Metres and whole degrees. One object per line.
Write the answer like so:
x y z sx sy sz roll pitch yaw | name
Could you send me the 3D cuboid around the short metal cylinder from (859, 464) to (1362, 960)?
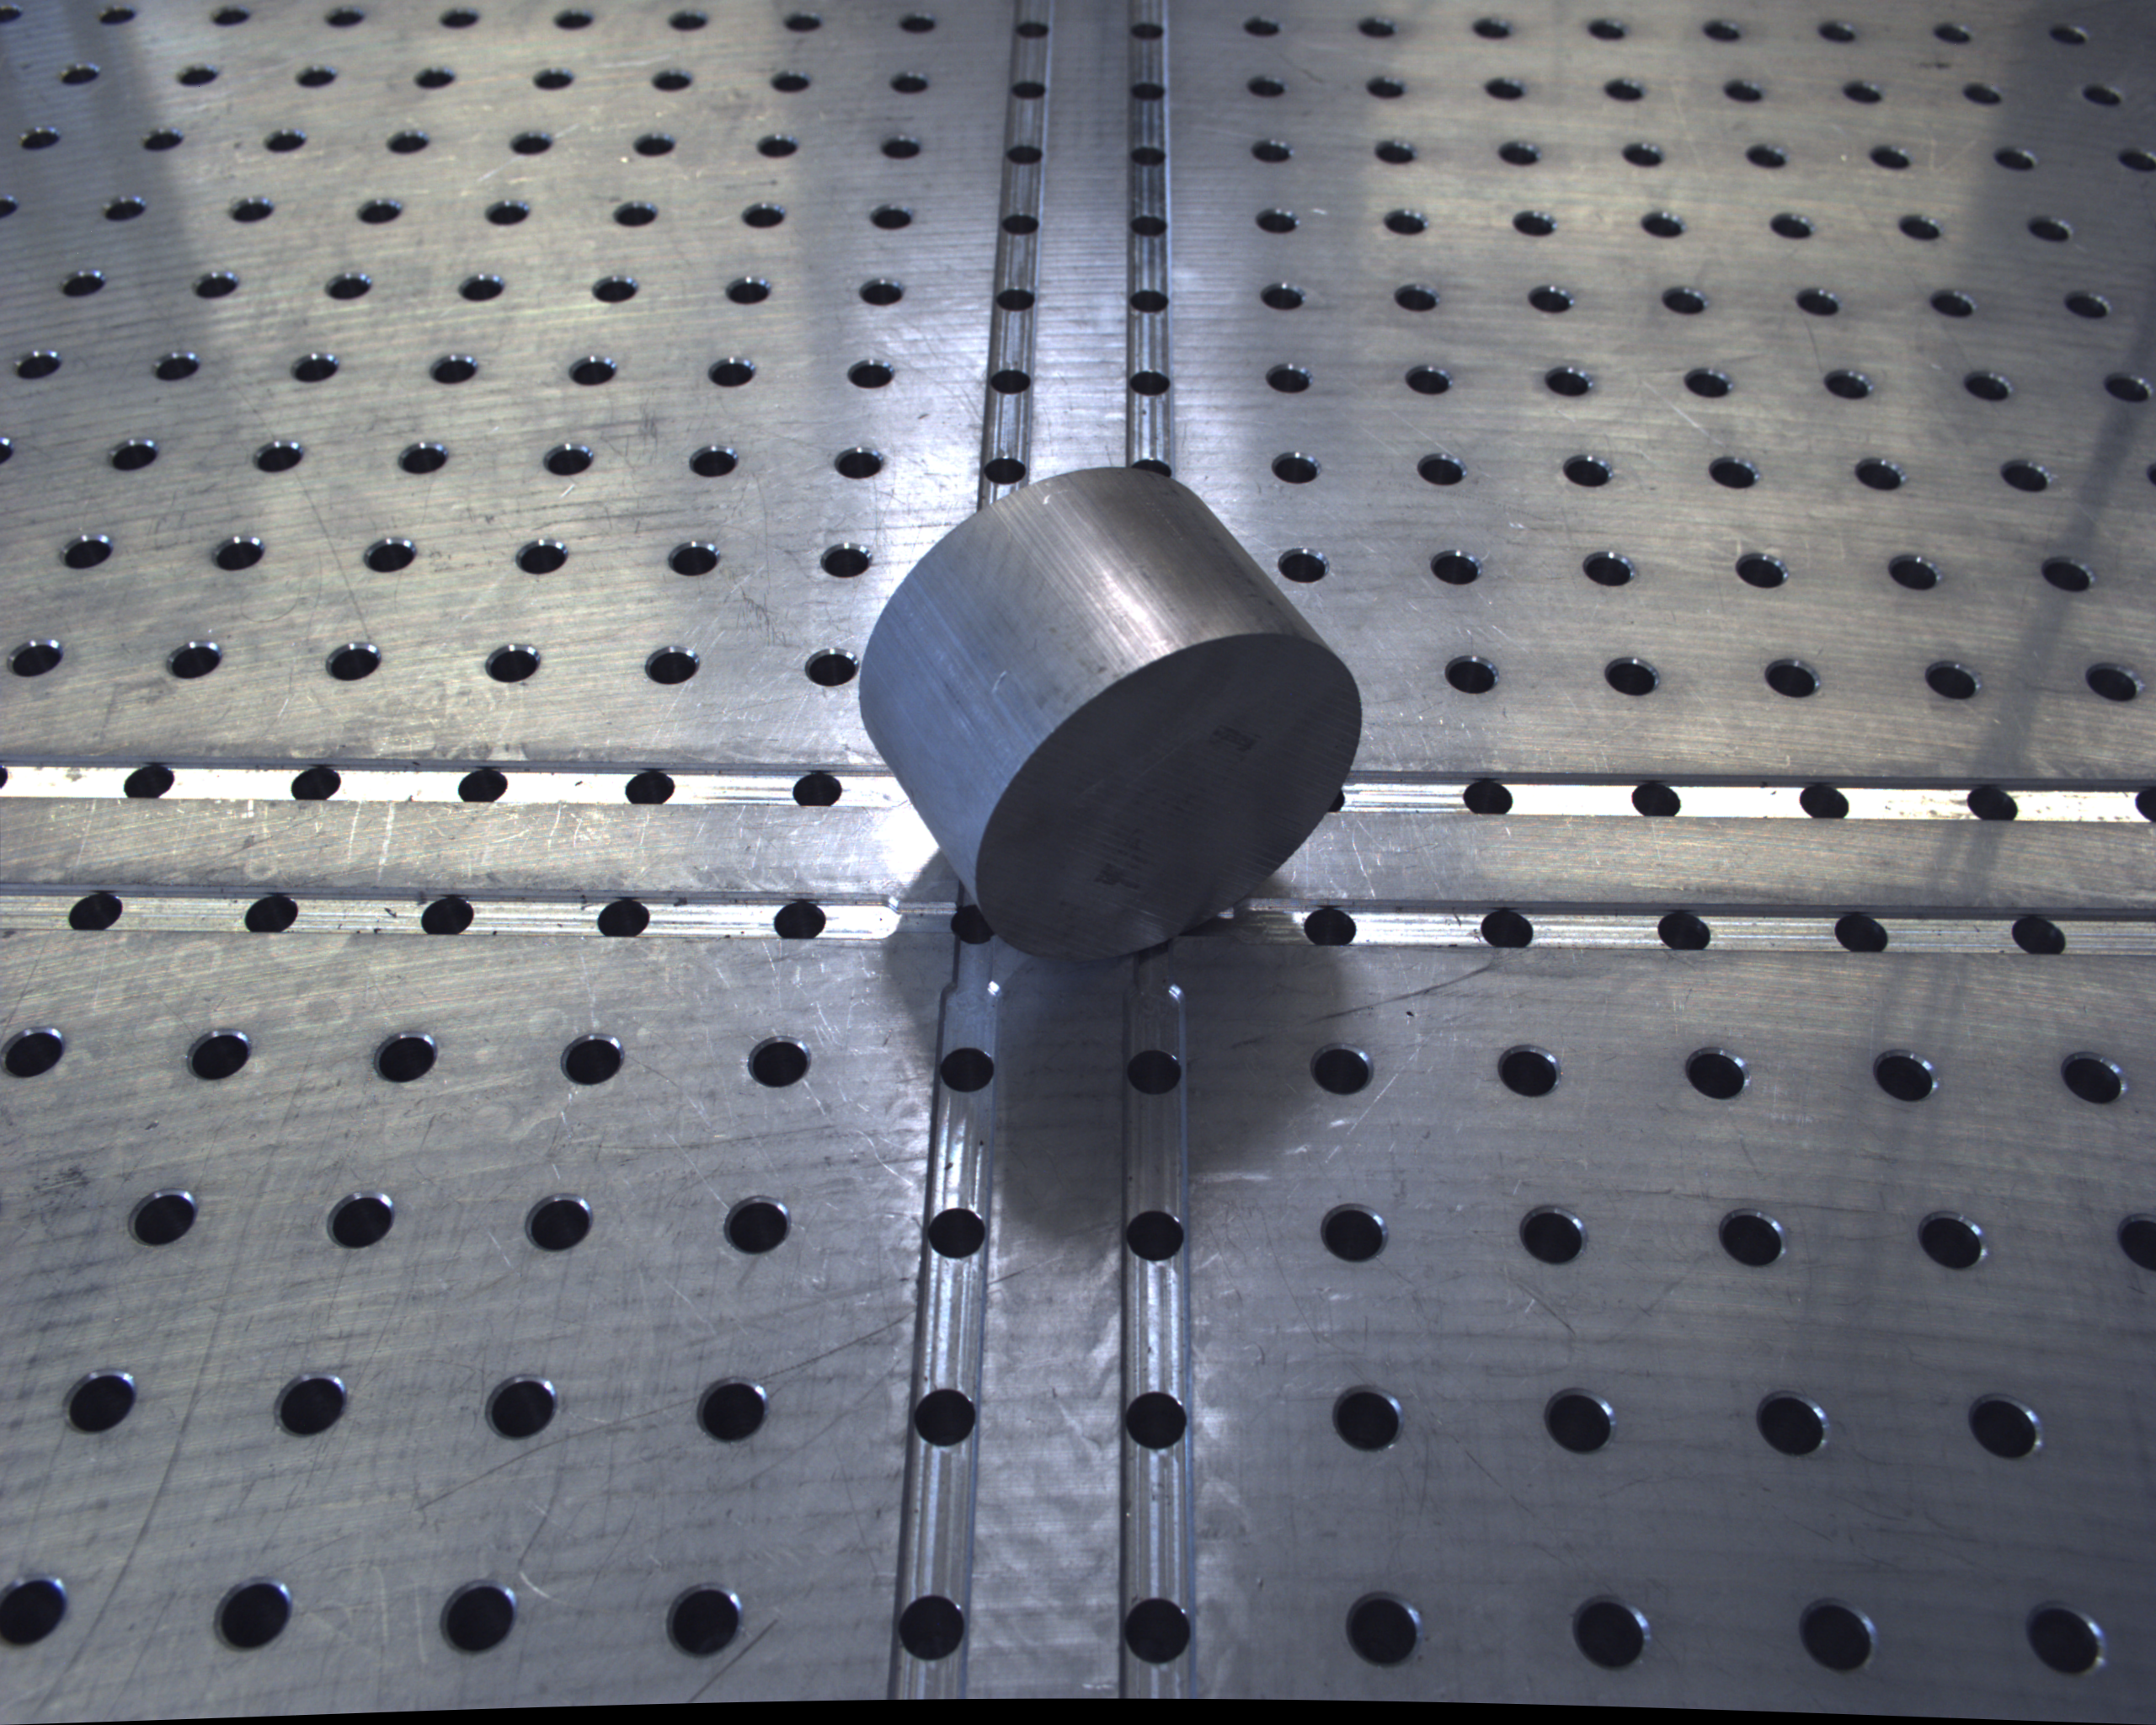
0.006 -0.028 0.394 0.081 0.080 0.050 -22 53 -18 | short metal cylinder
